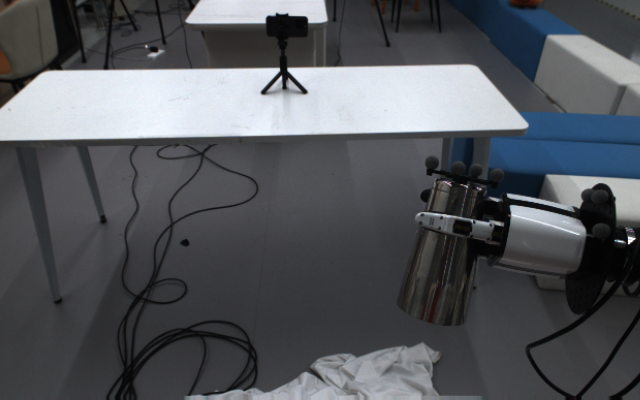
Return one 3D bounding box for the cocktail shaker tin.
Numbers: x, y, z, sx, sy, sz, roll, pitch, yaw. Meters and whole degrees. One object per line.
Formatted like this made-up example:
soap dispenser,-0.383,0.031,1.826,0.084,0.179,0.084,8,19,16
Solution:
cocktail shaker tin,0.165,0.059,0.622,0.093,0.170,0.093,10,9,-2
